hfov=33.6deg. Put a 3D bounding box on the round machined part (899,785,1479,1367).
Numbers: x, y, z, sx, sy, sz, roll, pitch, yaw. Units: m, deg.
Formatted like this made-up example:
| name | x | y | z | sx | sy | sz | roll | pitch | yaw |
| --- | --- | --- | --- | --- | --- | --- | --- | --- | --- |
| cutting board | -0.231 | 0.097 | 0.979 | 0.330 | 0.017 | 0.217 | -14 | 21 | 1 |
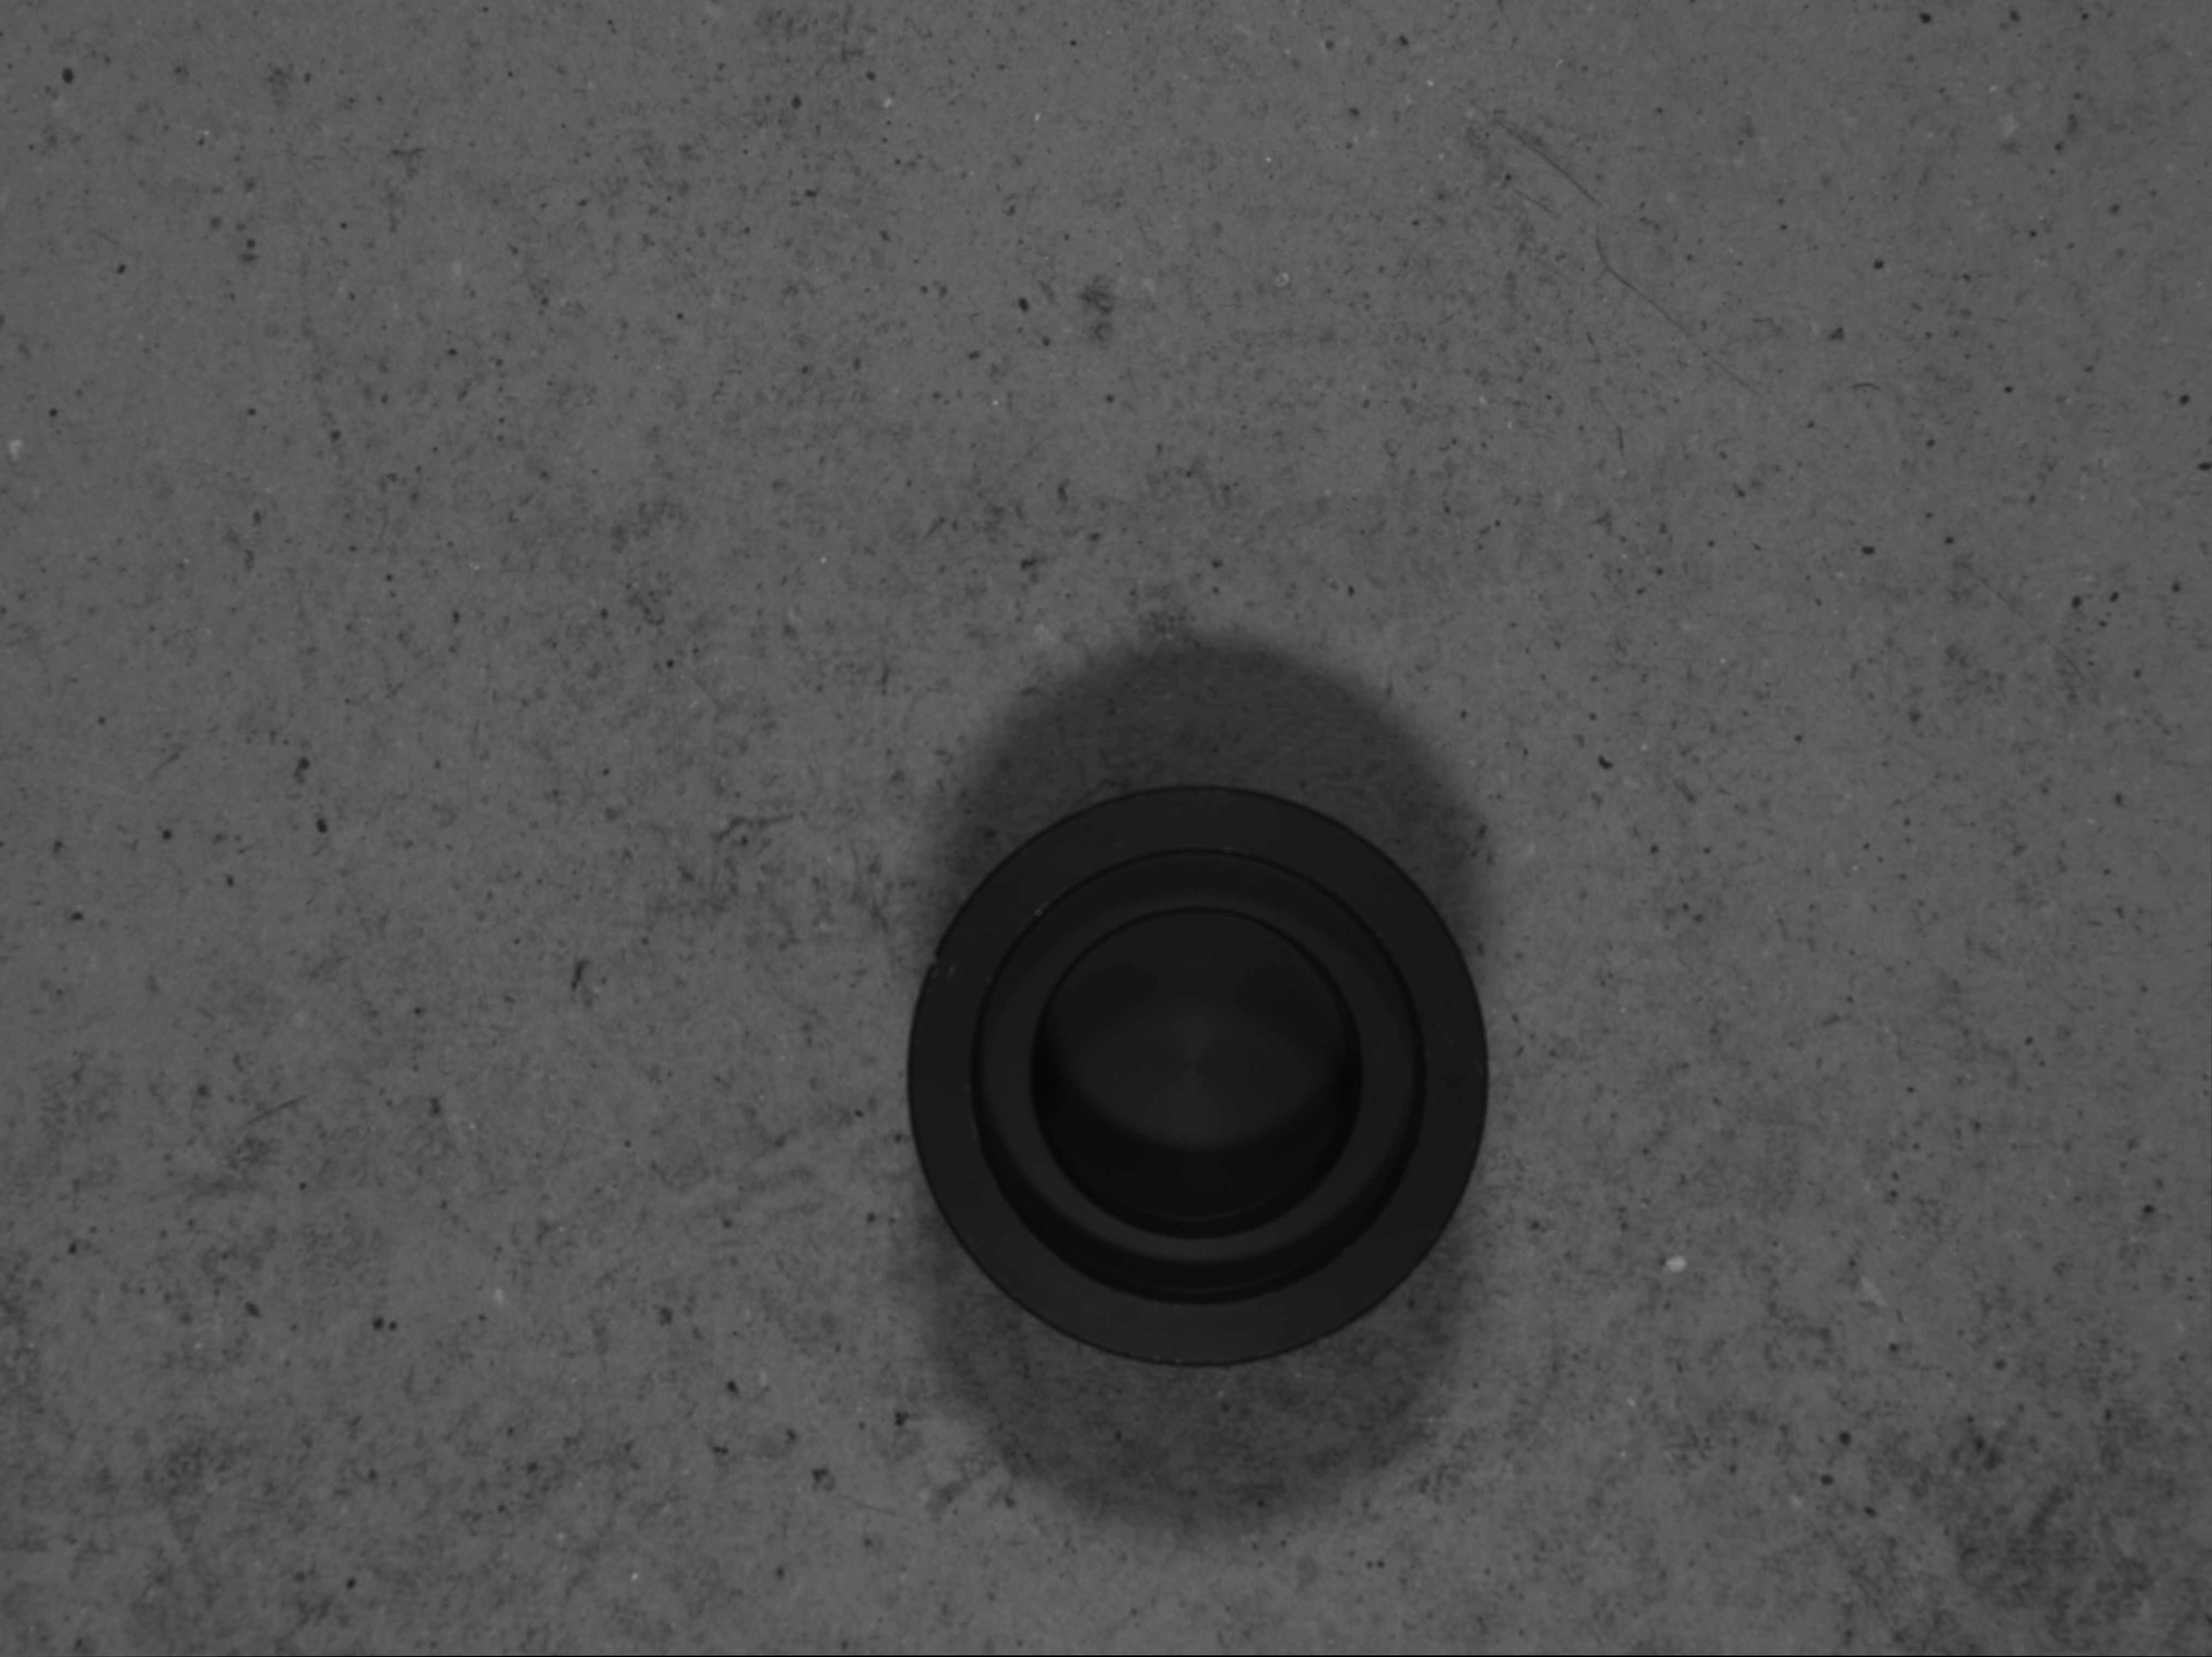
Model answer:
| name | x | y | z | sx | sy | sz | roll | pitch | yaw |
| --- | --- | --- | --- | --- | --- | --- | --- | --- | --- |
| round machined part | 0.014 | 0.042 | 0.637 | 0.098 | 0.042 | 0.098 | 0 | 90 | 0 |
